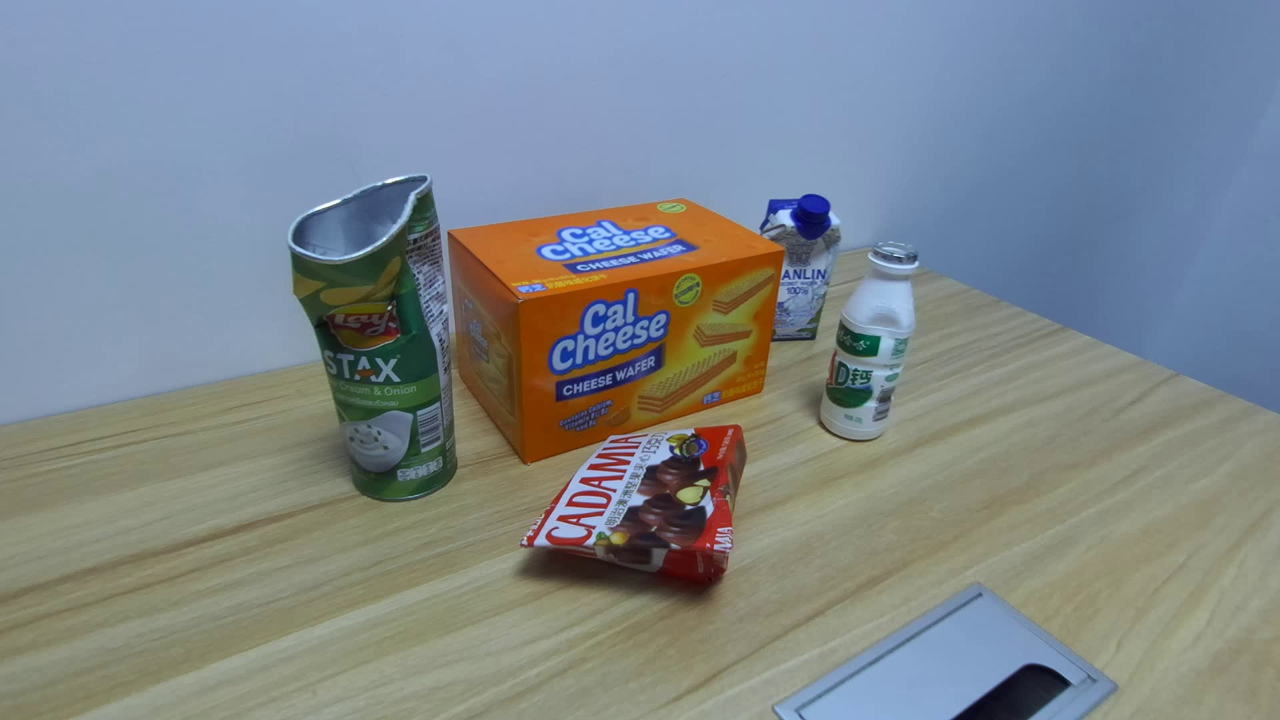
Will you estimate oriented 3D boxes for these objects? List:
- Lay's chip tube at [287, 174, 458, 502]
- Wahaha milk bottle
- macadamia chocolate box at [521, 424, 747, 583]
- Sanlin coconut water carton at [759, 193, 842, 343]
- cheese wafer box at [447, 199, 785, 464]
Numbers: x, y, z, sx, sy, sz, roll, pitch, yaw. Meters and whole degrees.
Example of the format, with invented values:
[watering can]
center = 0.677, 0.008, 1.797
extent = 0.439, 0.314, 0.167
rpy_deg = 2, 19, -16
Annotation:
[Lay's chip tube]
center = -0.152, -0.004, 0.424
extent = 0.079, 0.199, 0.071
rpy_deg = -7, 39, -15
[Wahaha milk bottle]
center = 0.169, -0.007, 0.520
extent = 0.053, 0.137, 0.053
rpy_deg = 4, 28, -2
[macadamia chocolate box]
center = 0.004, 0.082, 0.424
extent = 0.112, 0.056, 0.126
rpy_deg = 9, 29, 11
[Sanlin coconut water carton]
center = 0.144, -0.088, 0.658
extent = 0.078, 0.142, 0.057
rpy_deg = -3, 34, -12
[cheese wafer box]
center = -0.020, -0.036, 0.563
extent = 0.223, 0.129, 0.147
rpy_deg = -14, 34, -28
